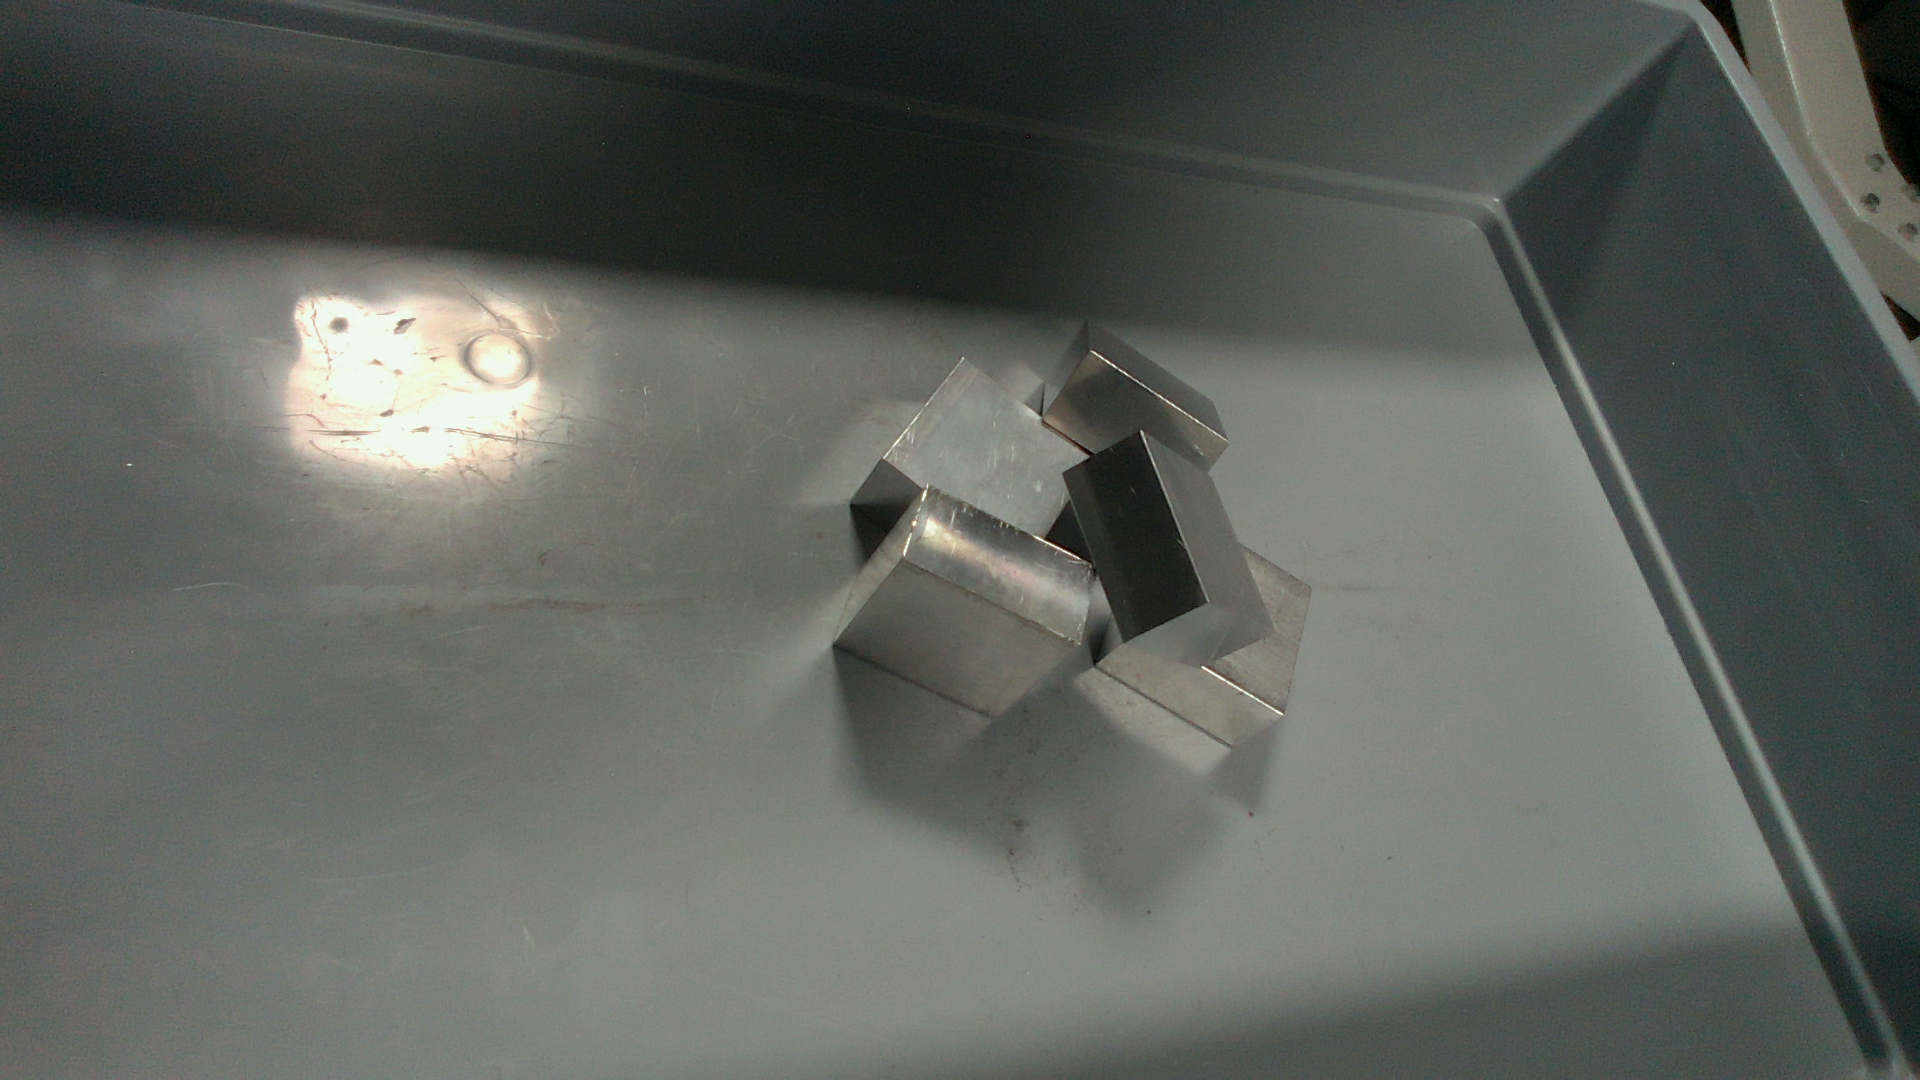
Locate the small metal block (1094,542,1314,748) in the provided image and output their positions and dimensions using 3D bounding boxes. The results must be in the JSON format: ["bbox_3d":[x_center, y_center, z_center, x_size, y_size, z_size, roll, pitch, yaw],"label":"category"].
[{"bbox_3d":[0.074,0.025,0.412,0.050,0.025,0.050,31,52,-8],"label":"small metal block"}]

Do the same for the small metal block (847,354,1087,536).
[{"bbox_3d":[0.004,-0.018,0.400,0.050,0.025,0.050,37,51,-3],"label":"small metal block"}]

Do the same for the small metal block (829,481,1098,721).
[{"bbox_3d":[0.000,0.018,0.361,0.050,0.050,0.025,26,52,-12],"label":"small metal block"}]

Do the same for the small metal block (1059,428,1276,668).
[{"bbox_3d":[0.056,0.004,0.369,0.050,0.025,0.050,22,45,-56],"label":"small metal block"}]

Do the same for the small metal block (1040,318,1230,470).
[{"bbox_3d":[0.053,-0.041,0.427,0.050,0.025,0.050,32,19,-7],"label":"small metal block"}]
